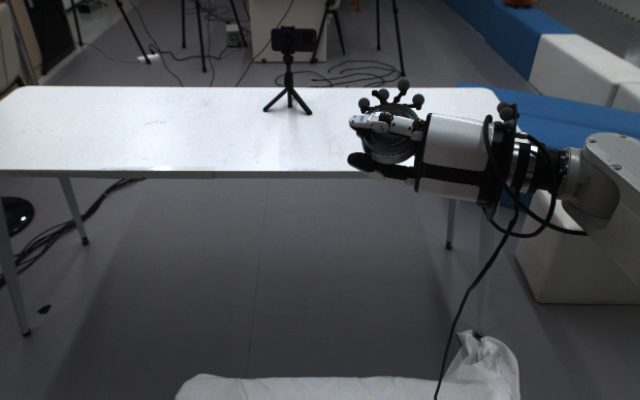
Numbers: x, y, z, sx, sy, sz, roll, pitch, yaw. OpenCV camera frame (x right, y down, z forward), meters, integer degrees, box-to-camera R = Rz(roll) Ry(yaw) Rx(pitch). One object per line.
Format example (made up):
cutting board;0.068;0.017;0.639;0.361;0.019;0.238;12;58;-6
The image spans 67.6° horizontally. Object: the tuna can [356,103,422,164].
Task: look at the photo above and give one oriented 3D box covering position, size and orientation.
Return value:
tuna can;0.099;-0.094;0.691;0.085;0.034;0.085;-6;61;10
